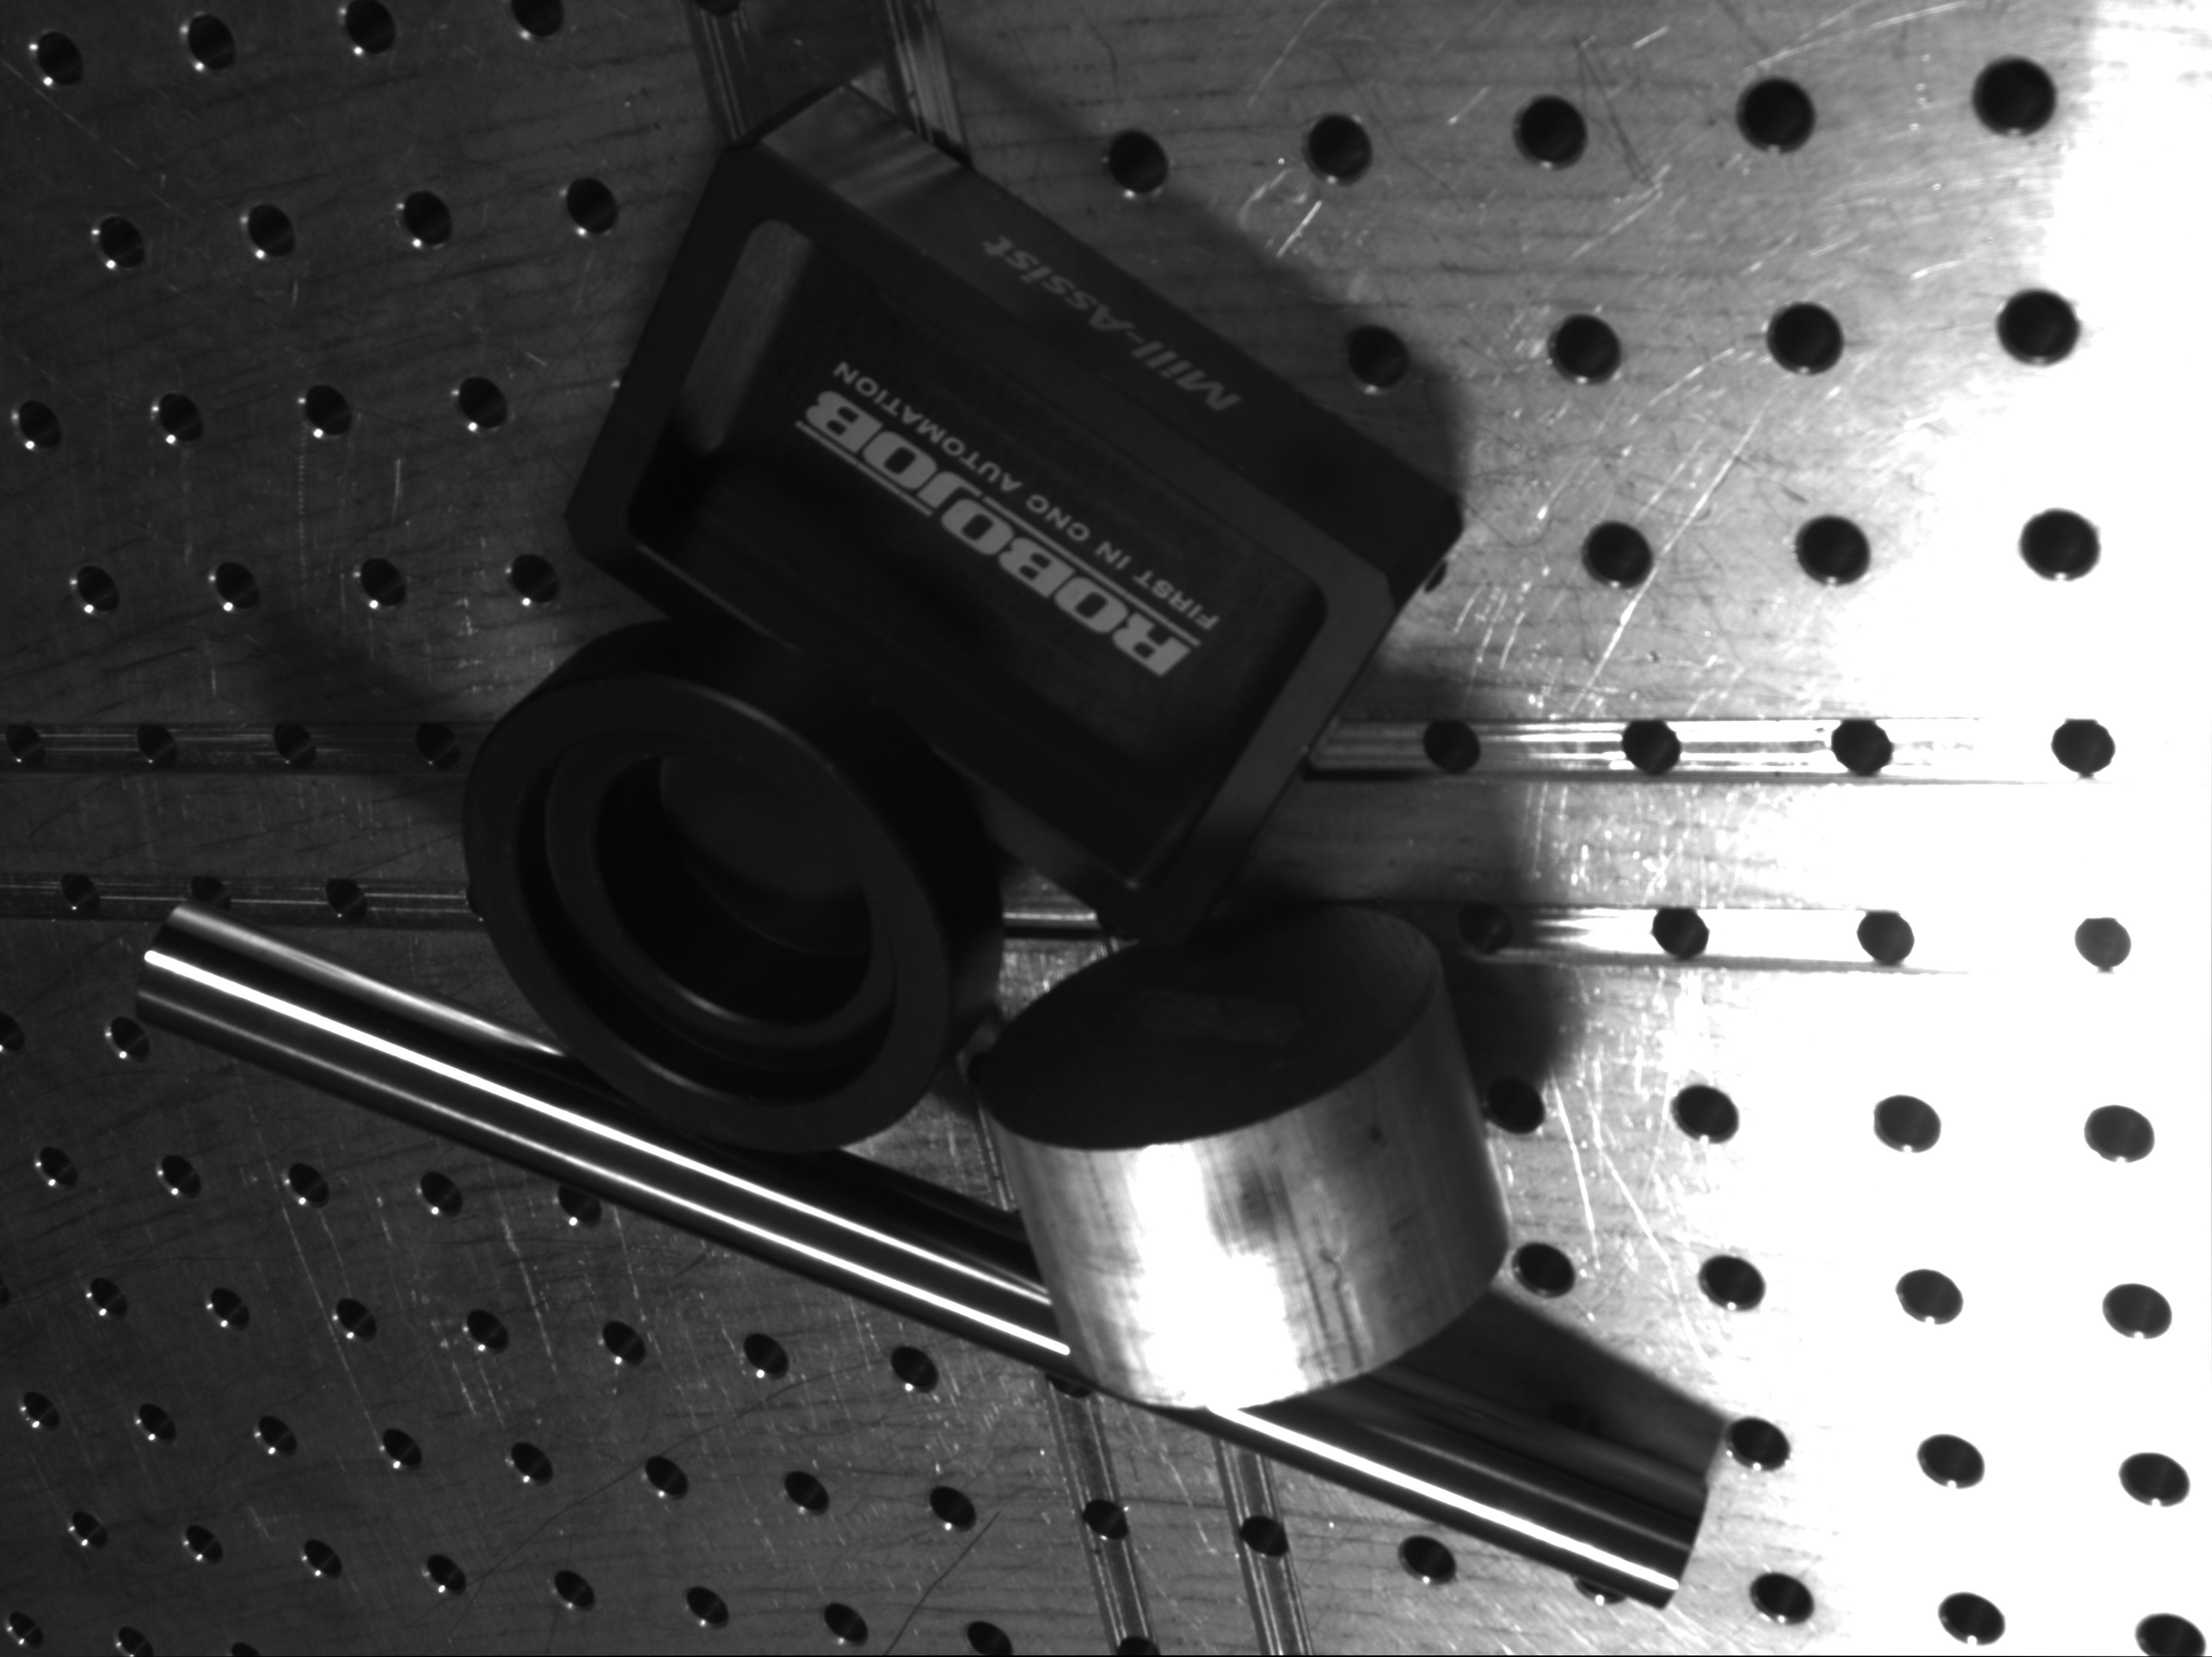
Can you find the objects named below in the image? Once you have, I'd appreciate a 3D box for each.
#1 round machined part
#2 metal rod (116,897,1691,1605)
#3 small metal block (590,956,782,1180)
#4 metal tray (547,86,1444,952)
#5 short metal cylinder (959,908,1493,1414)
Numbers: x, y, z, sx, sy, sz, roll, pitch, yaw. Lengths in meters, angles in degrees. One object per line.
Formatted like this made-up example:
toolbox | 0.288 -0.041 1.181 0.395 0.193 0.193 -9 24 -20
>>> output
round machined part | -0.064 0.006 0.649 0.098 0.042 0.098 14 124 21
metal rod | -0.039 0.077 0.674 0.300 0.025 0.025 20 126 4
small metal block | -0.077 0.044 0.699 0.050 0.025 0.050 25 127 11
metal tray | -0.021 -0.050 0.610 0.130 0.030 0.090 35 128 4
short metal cylinder | 0.021 0.055 0.620 0.080 0.080 0.050 -4 116 29
